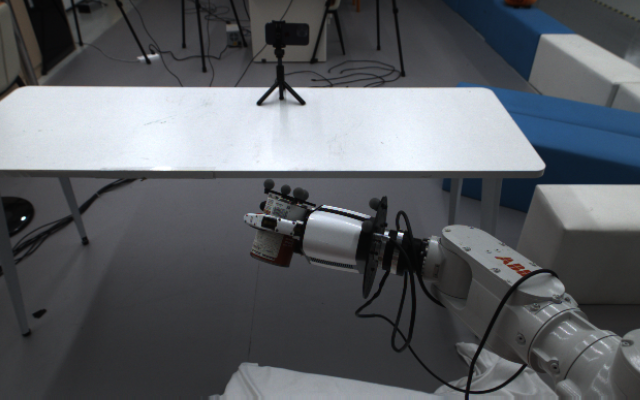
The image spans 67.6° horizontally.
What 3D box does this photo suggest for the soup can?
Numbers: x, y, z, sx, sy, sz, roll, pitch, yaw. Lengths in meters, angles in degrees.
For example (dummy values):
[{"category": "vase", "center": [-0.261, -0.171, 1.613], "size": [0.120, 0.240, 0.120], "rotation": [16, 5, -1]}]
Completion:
[{"category": "soup can", "center": [-0.065, 0.050, 0.771], "size": [0.067, 0.101, 0.067], "rotation": [17, -1, 0]}]
